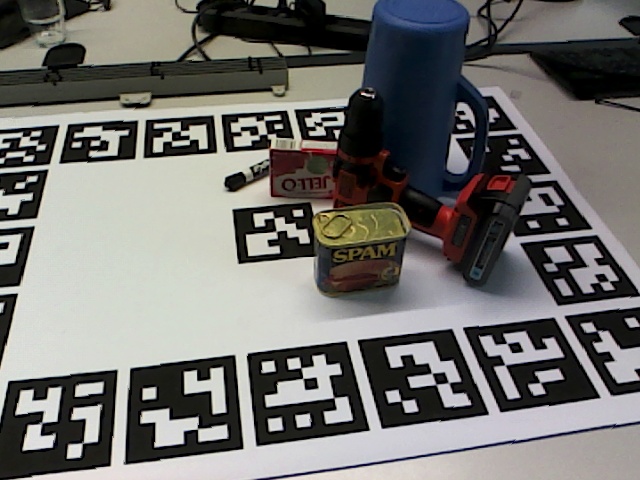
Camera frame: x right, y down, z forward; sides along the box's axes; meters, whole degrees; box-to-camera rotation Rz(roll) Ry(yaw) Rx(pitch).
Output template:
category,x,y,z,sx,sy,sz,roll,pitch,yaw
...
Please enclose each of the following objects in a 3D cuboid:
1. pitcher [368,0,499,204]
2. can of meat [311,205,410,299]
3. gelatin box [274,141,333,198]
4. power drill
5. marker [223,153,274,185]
category,x,y,z,sx,sy,sz,roll,pitch,yaw
pitcher,0.129,-0.161,0.767,0.190,0.241,0.133,13,48,20
can of meat,0.041,0.014,0.679,0.101,0.083,0.058,-6,42,-9
gelatin box,-0.015,-0.089,0.798,0.089,0.073,0.030,3,48,-1
power drill,0.099,-0.070,0.703,0.187,0.184,0.057,23,50,13
marker,-0.078,-0.104,0.846,0.120,0.019,0.020,-27,51,-26
